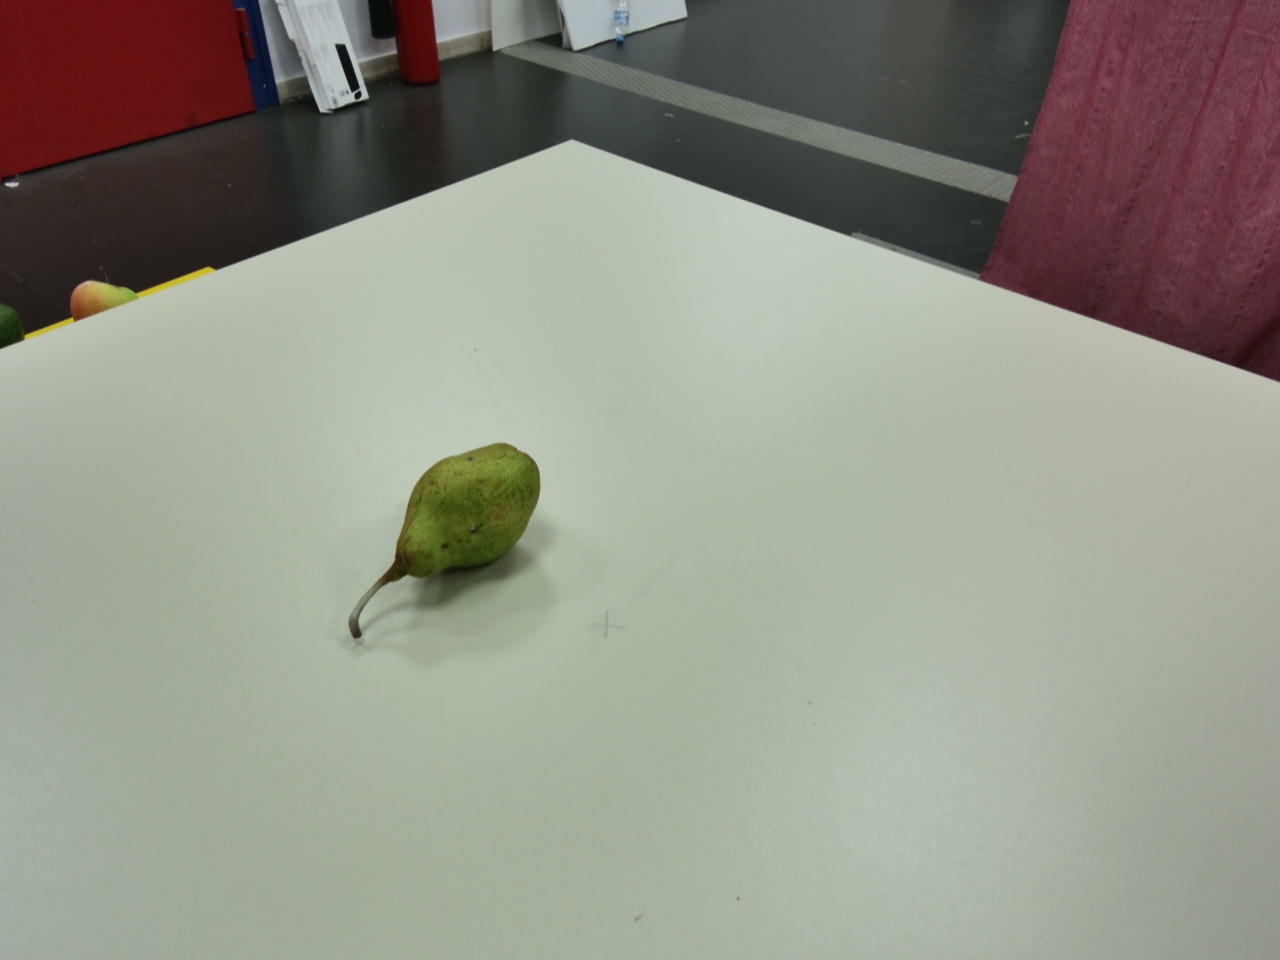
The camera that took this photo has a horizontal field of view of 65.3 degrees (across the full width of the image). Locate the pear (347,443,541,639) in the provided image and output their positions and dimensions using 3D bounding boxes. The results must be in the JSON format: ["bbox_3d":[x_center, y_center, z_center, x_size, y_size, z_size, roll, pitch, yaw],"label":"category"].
[{"bbox_3d":[-0.099,0.020,0.477,0.111,0.056,0.056,-22,43,-28],"label":"pear"}]
